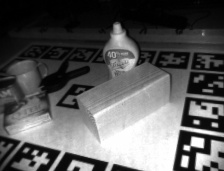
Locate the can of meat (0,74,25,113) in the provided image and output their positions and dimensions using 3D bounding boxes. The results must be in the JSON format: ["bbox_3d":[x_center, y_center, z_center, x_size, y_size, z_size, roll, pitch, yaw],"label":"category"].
[{"bbox_3d":[-0.306,0.026,0.600,0.102,0.084,0.057,-15,40,-4],"label":"can of meat"}]

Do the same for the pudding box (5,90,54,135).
[{"bbox_3d":[-0.217,0.069,0.570,0.114,0.039,0.089,-20,40,-12],"label":"pudding box"}]

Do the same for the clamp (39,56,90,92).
[{"bbox_3d":[-0.165,-0.036,0.693,0.120,0.037,0.166,22,52,32],"label":"clamp"}]

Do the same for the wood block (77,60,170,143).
[{"bbox_3d":[0.035,0.030,0.521,0.208,0.091,0.088,-28,40,-22],"label":"wood block"}]

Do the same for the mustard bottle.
[{"bbox_3d":[0.020,-0.082,0.571,0.095,0.193,0.058,1,42,17],"label":"mustard bottle"}]

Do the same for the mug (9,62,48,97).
[{"bbox_3d":[-0.256,-0.021,0.689,0.092,0.082,0.118,24,53,35],"label":"mug"}]
